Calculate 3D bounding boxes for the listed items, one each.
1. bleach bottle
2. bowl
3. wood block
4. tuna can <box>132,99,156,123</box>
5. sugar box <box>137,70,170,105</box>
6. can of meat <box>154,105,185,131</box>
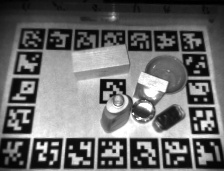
[{"bbox_3d":[0.015,0.080,0.676,0.103,0.252,0.067,-25,71,-8],"label":"bleach bottle"},{"bbox_3d":[0.219,-0.044,0.828,0.161,0.055,0.161,-1,70,3],"label":"bowl"},{"bbox_3d":[-0.040,-0.092,0.825,0.207,0.090,0.090,-9,75,-5],"label":"wood block"},{"bbox_3d":[0.116,0.094,0.785,0.086,0.034,0.085,0,73,0],"label":"tuna can"},{"bbox_3d":[0.138,0.012,0.739,0.092,0.177,0.045,19,73,11],"label":"sugar box"},{"bbox_3d":[0.201,0.111,0.761,0.102,0.084,0.057,-29,69,-12],"label":"can of meat"}]
